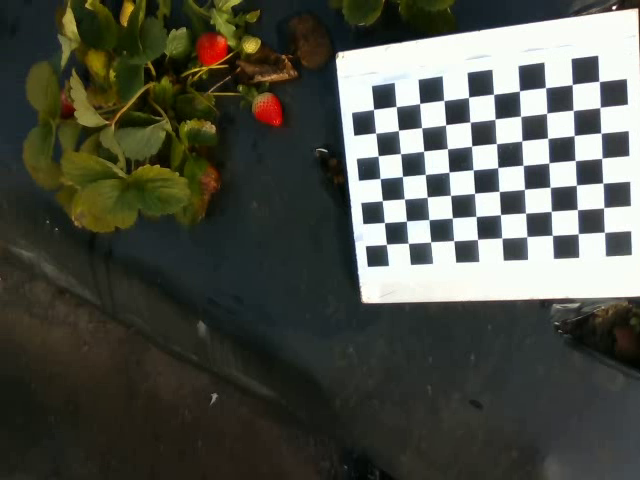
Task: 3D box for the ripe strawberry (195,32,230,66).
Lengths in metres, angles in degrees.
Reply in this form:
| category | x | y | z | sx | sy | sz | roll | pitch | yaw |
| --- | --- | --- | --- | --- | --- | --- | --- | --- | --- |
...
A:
| category | x | y | z | sx | sy | sz | roll | pitch | yaw |
| --- | --- | --- | --- | --- | --- | --- | --- | --- | --- |
| ripe strawberry | -0.116 | -0.209 | 0.668 | 0.031 | 0.040 | 0.048 | -22 | 6 | -29 |

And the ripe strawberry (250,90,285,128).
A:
| category | x | y | z | sx | sy | sz | roll | pitch | yaw |
| --- | --- | --- | --- | --- | --- | --- | --- | --- | --- |
| ripe strawberry | -0.056 | -0.140 | 0.667 | 0.035 | 0.043 | 0.029 | -42 | -7 | 19 |
